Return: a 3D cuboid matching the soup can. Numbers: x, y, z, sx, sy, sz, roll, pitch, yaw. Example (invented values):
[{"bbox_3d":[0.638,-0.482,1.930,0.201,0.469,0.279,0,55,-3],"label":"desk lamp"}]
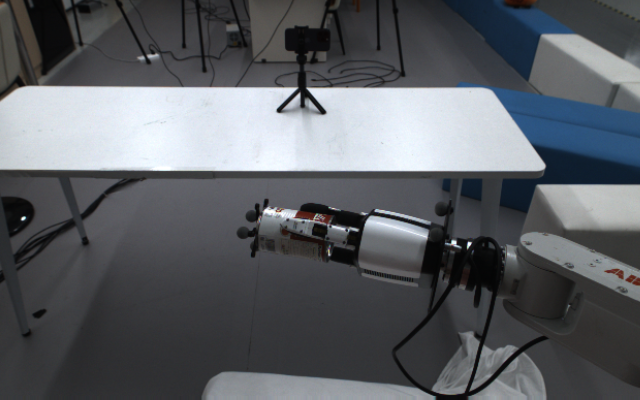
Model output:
[{"bbox_3d":[-0.031,0.048,0.688,0.101,0.067,0.067,7,35,10],"label":"soup can"}]
